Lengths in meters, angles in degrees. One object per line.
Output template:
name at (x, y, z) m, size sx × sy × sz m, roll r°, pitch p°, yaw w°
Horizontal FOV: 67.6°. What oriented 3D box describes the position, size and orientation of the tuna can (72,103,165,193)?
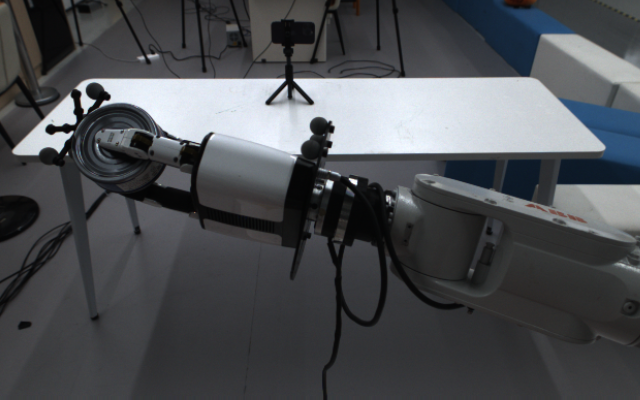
tuna can at (-0.195, -0.053, 0.481) m, size 0.085 × 0.034 × 0.085 m, roll 0°, pitch 75°, yaw -1°
